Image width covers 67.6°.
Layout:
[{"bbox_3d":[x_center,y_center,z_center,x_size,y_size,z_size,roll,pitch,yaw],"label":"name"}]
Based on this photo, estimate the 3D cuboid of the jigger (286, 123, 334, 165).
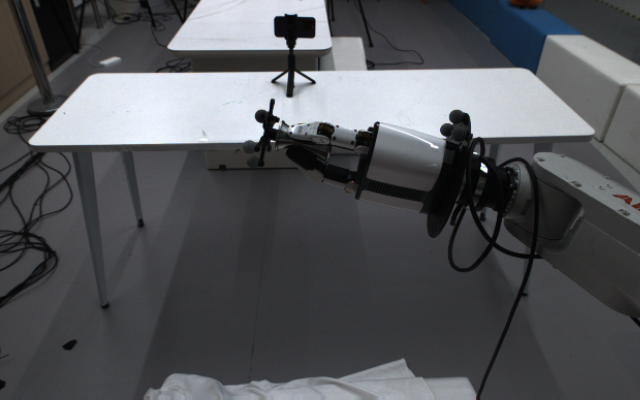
[{"bbox_3d":[-0.013,-0.078,0.620,0.071,0.043,0.043,13,36,4],"label":"jigger"}]
